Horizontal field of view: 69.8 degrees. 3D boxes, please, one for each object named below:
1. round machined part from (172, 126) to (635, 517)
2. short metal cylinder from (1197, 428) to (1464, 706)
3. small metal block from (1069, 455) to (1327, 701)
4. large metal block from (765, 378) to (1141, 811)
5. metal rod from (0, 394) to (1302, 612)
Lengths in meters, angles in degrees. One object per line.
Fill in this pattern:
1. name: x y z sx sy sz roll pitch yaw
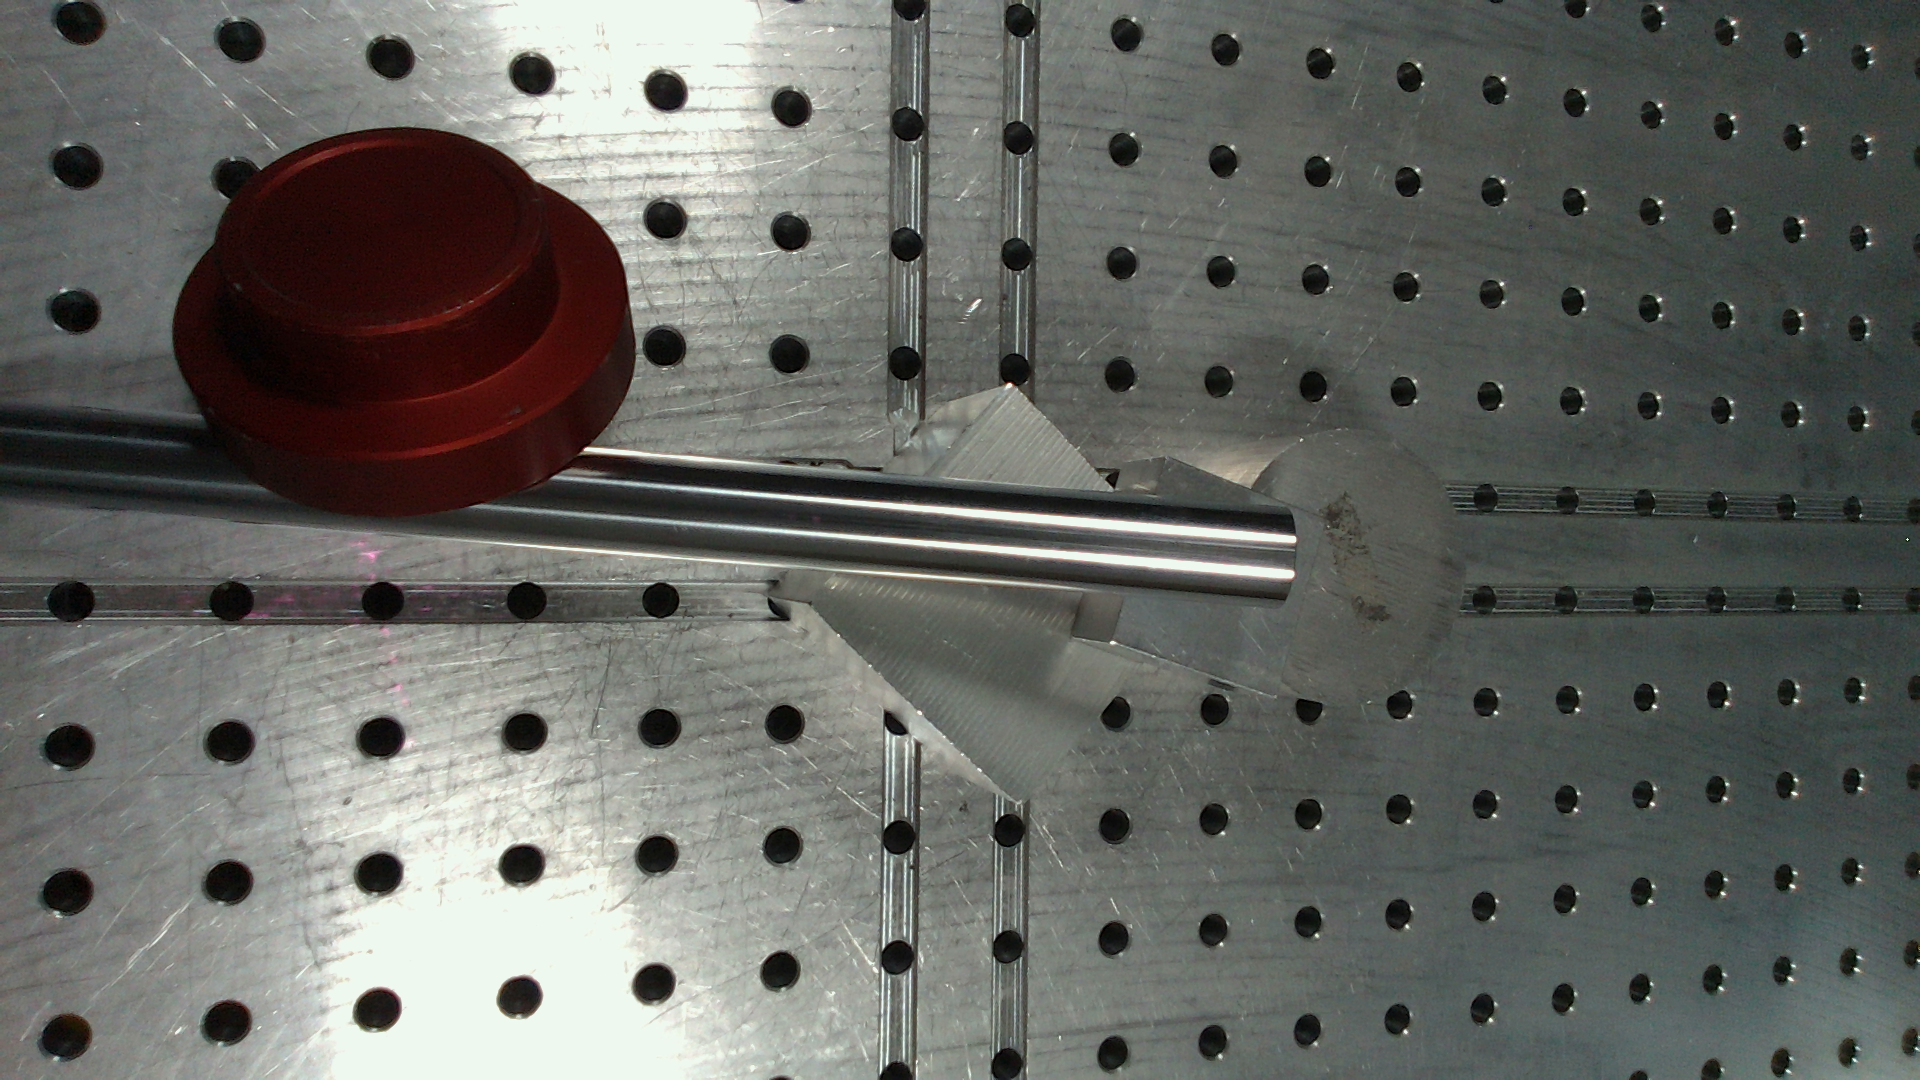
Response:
1. round machined part: -0.126 -0.056 0.313 0.098 0.042 0.098 3 52 -4
2. short metal cylinder: 0.104 0.008 0.421 0.080 0.050 0.080 0 90 -20
3. small metal block: 0.063 0.010 0.363 0.050 0.025 0.050 20 84 -19
4. large metal block: 0.007 0.014 0.383 0.080 0.050 0.080 45 76 -14
5. metal rod: -0.071 -0.008 0.324 0.300 0.025 0.025 5 88 -3
